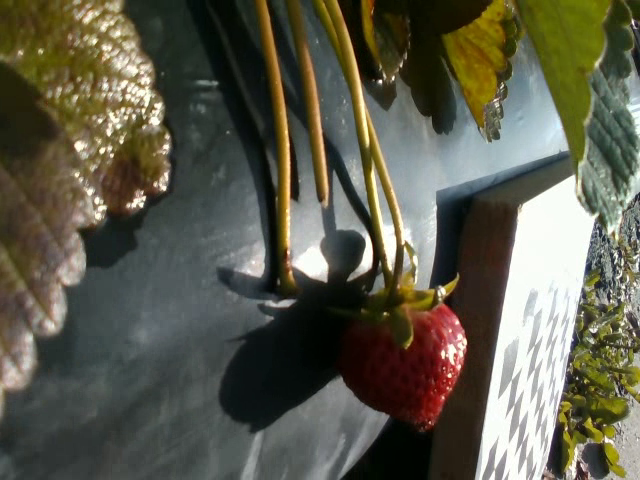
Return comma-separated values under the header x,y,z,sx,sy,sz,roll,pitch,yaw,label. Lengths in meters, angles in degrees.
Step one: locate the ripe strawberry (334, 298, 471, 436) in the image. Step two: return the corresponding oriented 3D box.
x,y,z,sx,sy,sz,roll,pitch,yaw,label
0.024,0.036,0.158,0.036,0.044,0.040,2,30,37,ripe strawberry
